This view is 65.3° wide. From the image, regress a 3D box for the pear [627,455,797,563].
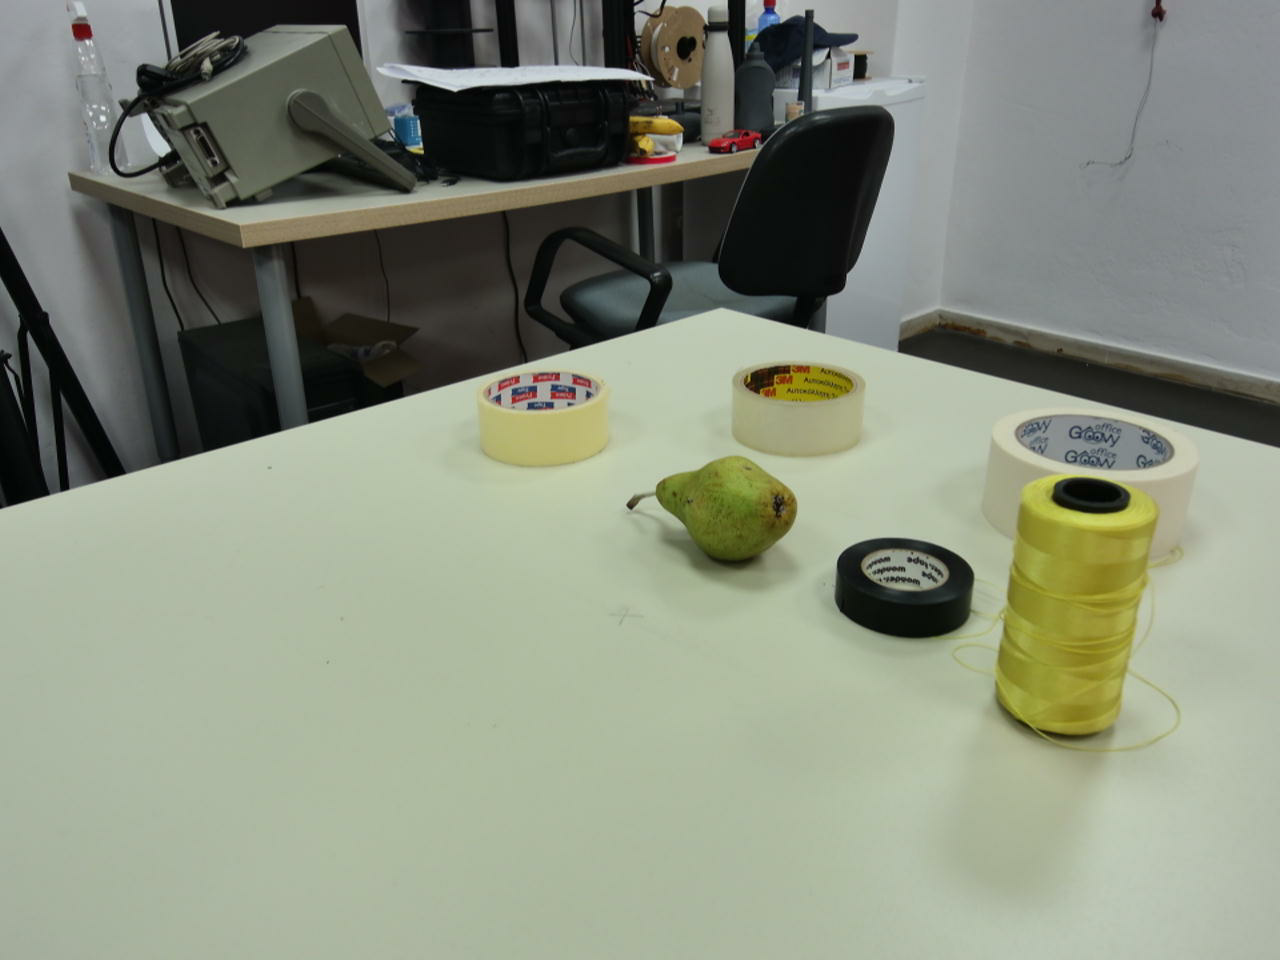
[{"bbox_3d":[0.042,0.009,0.560,0.056,0.056,0.111,-10,26,-24],"label":"pear"}]
